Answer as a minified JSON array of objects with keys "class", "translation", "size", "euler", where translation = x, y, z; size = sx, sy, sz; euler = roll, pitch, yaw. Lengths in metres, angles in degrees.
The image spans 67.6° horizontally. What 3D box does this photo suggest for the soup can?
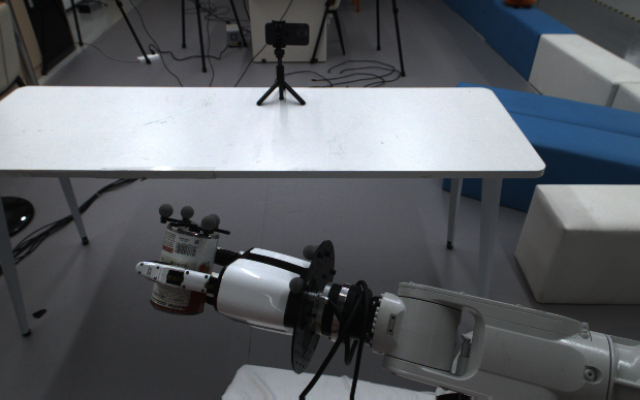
[{"class":"soup can","translation":[-0.169,0.088,0.612],"size":[0.067,0.101,0.067],"euler":[13,1,0]}]
